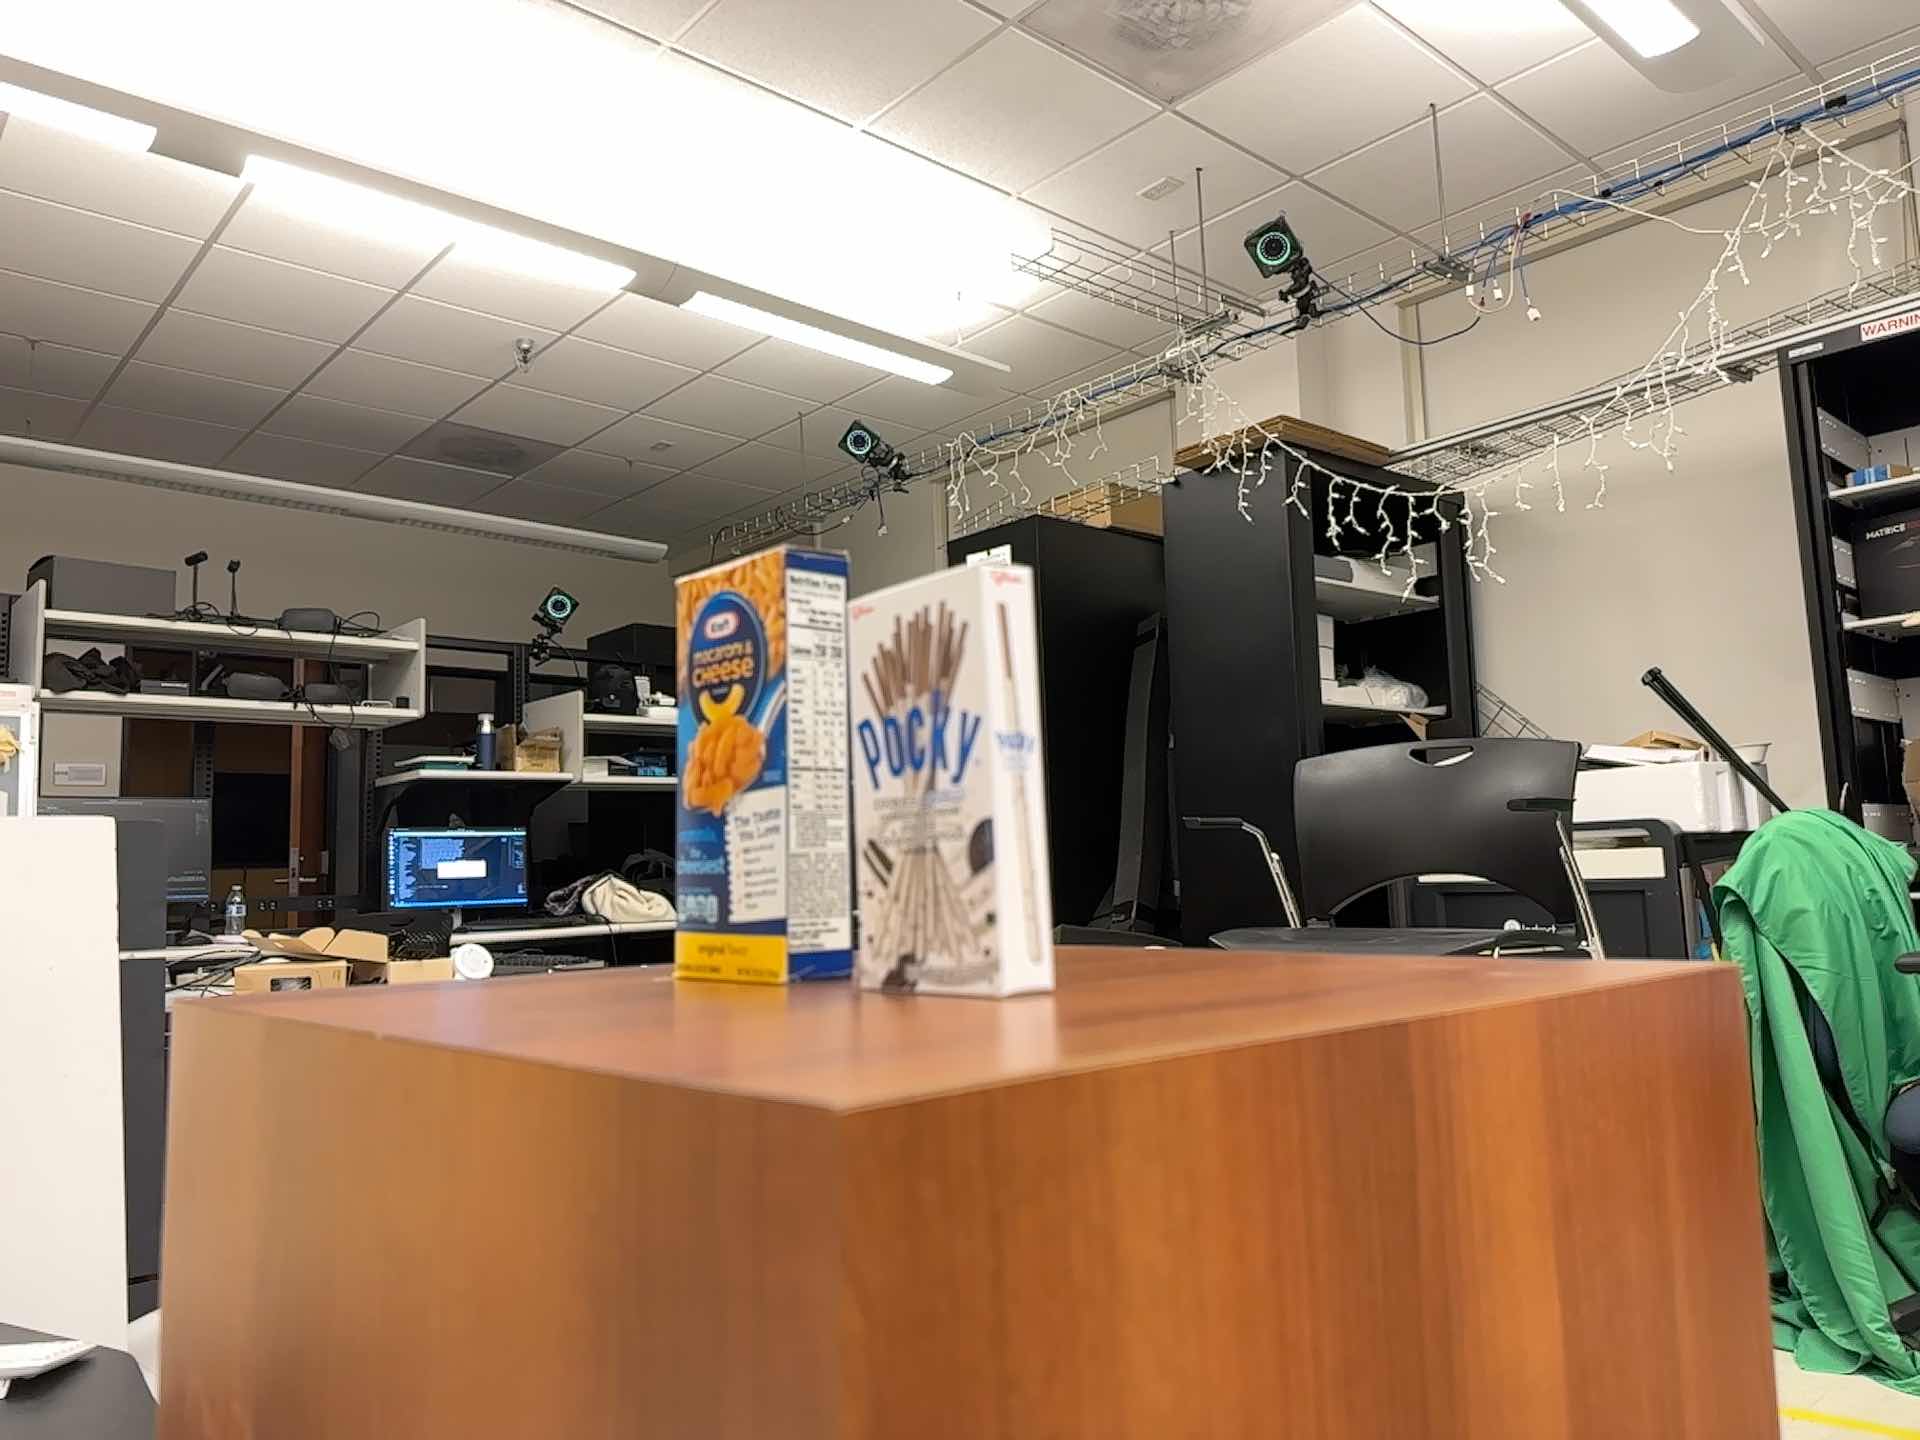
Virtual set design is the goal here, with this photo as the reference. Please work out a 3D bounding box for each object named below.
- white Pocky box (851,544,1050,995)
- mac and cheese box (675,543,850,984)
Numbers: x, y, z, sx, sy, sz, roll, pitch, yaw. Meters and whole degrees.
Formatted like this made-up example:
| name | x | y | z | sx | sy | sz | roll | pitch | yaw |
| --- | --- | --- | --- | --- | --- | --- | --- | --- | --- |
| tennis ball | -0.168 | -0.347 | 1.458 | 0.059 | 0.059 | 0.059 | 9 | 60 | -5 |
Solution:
| name | x | y | z | sx | sy | sz | roll | pitch | yaw |
| --- | --- | --- | --- | --- | --- | --- | --- | --- | --- |
| white Pocky box | -0.006 | 0.020 | 0.492 | 0.028 | 0.154 | 0.084 | 3 | -9 | -35 |
| mac and cheese box | -0.089 | 0.023 | 0.597 | 0.035 | 0.181 | 0.088 | 5 | -12 | -38 |
